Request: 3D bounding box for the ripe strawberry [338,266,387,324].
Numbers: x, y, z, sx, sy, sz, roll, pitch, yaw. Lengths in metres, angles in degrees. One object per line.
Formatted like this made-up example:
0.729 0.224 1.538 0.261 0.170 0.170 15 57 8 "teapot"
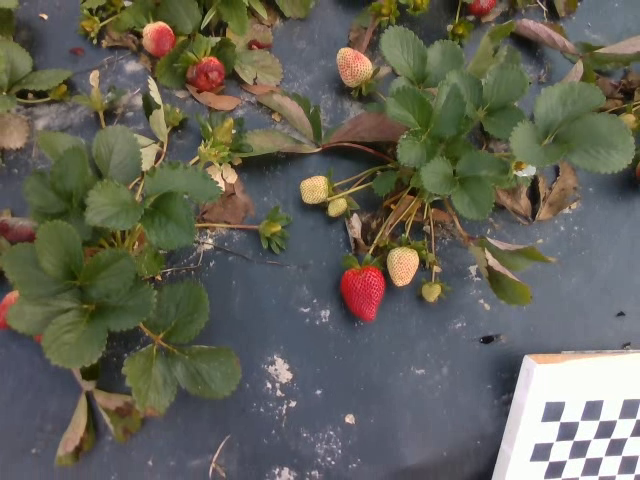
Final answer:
0.041 0.049 0.558 0.050 0.059 0.034 -8 -30 -9 "ripe strawberry"
